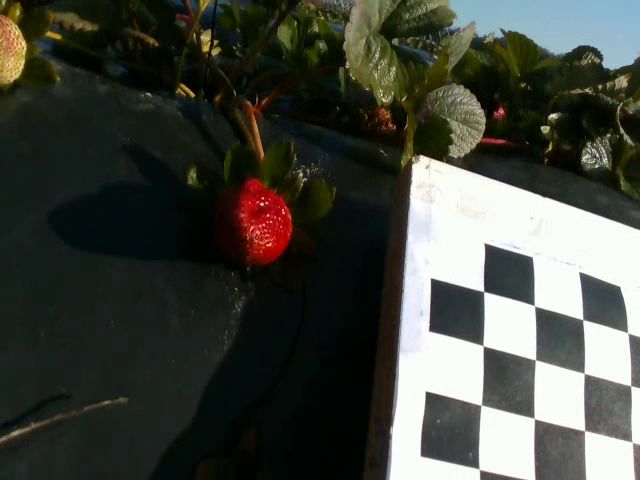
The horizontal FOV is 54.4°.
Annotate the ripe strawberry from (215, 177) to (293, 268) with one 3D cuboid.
[{"bbox_3d":[-0.010,-0.003,0.087,0.015,0.015,0.023,24,6,-9],"label":"ripe strawberry"}]
